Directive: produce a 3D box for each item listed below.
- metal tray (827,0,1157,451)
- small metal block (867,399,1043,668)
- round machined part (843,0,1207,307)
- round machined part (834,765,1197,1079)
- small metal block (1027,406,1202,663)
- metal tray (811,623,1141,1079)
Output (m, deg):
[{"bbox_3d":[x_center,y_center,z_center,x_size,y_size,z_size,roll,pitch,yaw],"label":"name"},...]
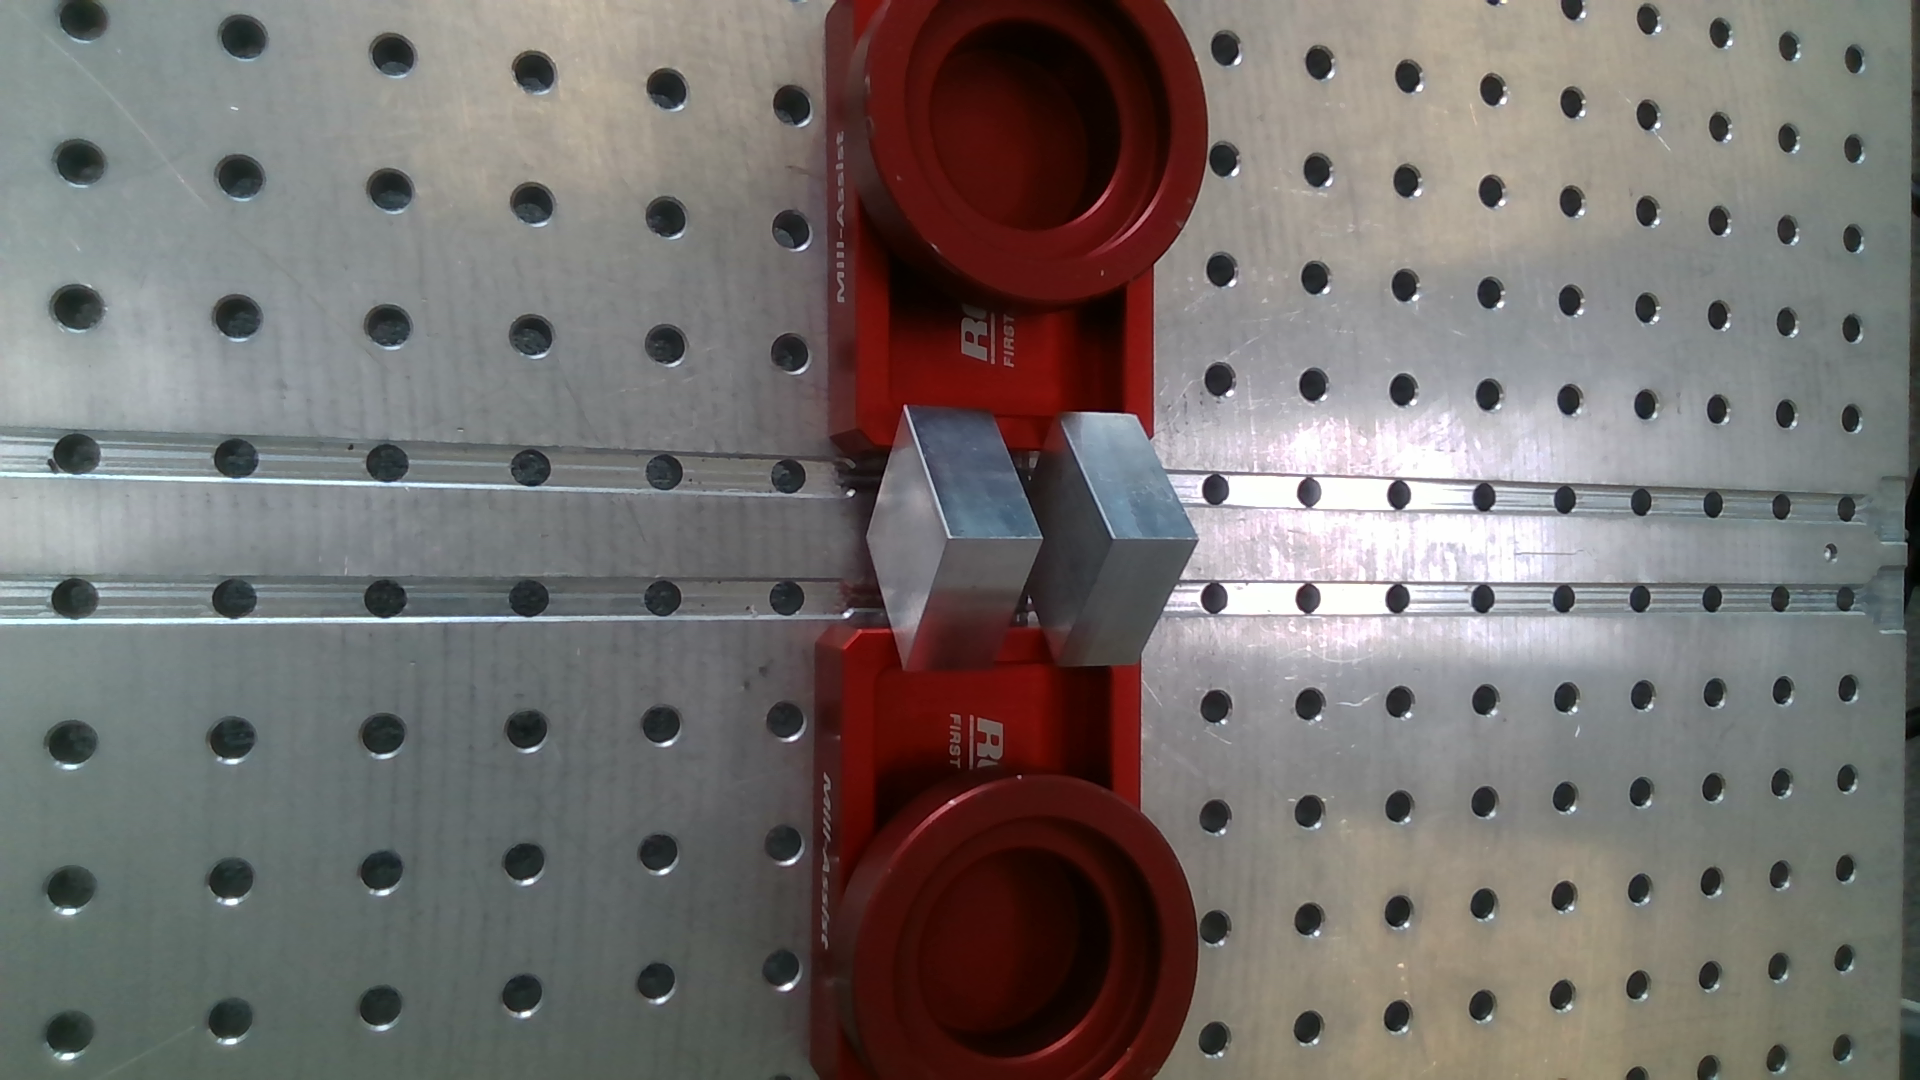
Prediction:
[{"bbox_3d":[0.009,-0.091,0.398,0.090,0.030,0.130,-1,90,-18],"label":"metal tray"},{"bbox_3d":[-0.004,-0.002,0.366,0.025,0.050,0.050,1,45,-20],"label":"small metal block"},{"bbox_3d":[0.015,-0.112,0.379,0.098,0.042,0.098,0,90,-20],"label":"round machined part"},{"bbox_3d":[0.012,0.110,0.379,0.098,0.042,0.098,0,90,-20],"label":"round machined part"},{"bbox_3d":[0.038,-0.001,0.382,0.025,0.050,0.050,1,45,-20],"label":"small metal block"},{"bbox_3d":[0.005,0.089,0.397,0.090,0.030,0.130,1,90,-20],"label":"metal tray"}]
